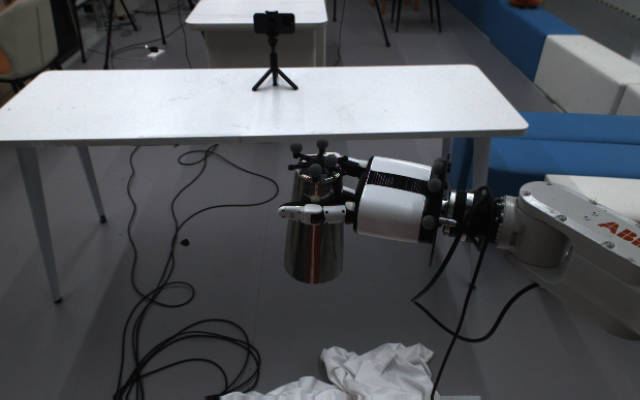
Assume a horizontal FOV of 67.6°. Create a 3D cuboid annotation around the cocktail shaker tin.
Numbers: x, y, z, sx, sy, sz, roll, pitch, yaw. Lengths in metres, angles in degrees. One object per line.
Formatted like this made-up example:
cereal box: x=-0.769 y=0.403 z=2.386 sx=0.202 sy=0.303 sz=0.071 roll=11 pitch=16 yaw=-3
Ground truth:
cocktail shaker tin: x=-0.004 y=0.024 z=0.708 sx=0.093 sy=0.170 sz=0.093 roll=3 pitch=33 yaw=-2
